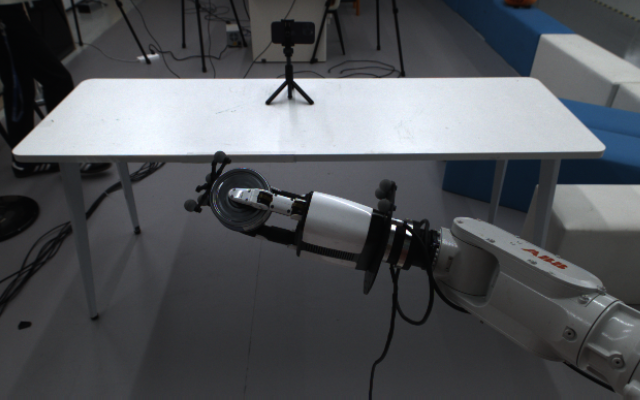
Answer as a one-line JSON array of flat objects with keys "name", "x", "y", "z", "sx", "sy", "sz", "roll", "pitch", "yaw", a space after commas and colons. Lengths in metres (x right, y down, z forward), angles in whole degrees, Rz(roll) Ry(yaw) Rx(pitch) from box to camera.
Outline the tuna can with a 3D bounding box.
[{"name": "tuna can", "x": -0.107, "y": -0.002, "z": 0.669, "sx": 0.085, "sy": 0.034, "sz": 0.085, "roll": 0, "pitch": 75, "yaw": -2}]
